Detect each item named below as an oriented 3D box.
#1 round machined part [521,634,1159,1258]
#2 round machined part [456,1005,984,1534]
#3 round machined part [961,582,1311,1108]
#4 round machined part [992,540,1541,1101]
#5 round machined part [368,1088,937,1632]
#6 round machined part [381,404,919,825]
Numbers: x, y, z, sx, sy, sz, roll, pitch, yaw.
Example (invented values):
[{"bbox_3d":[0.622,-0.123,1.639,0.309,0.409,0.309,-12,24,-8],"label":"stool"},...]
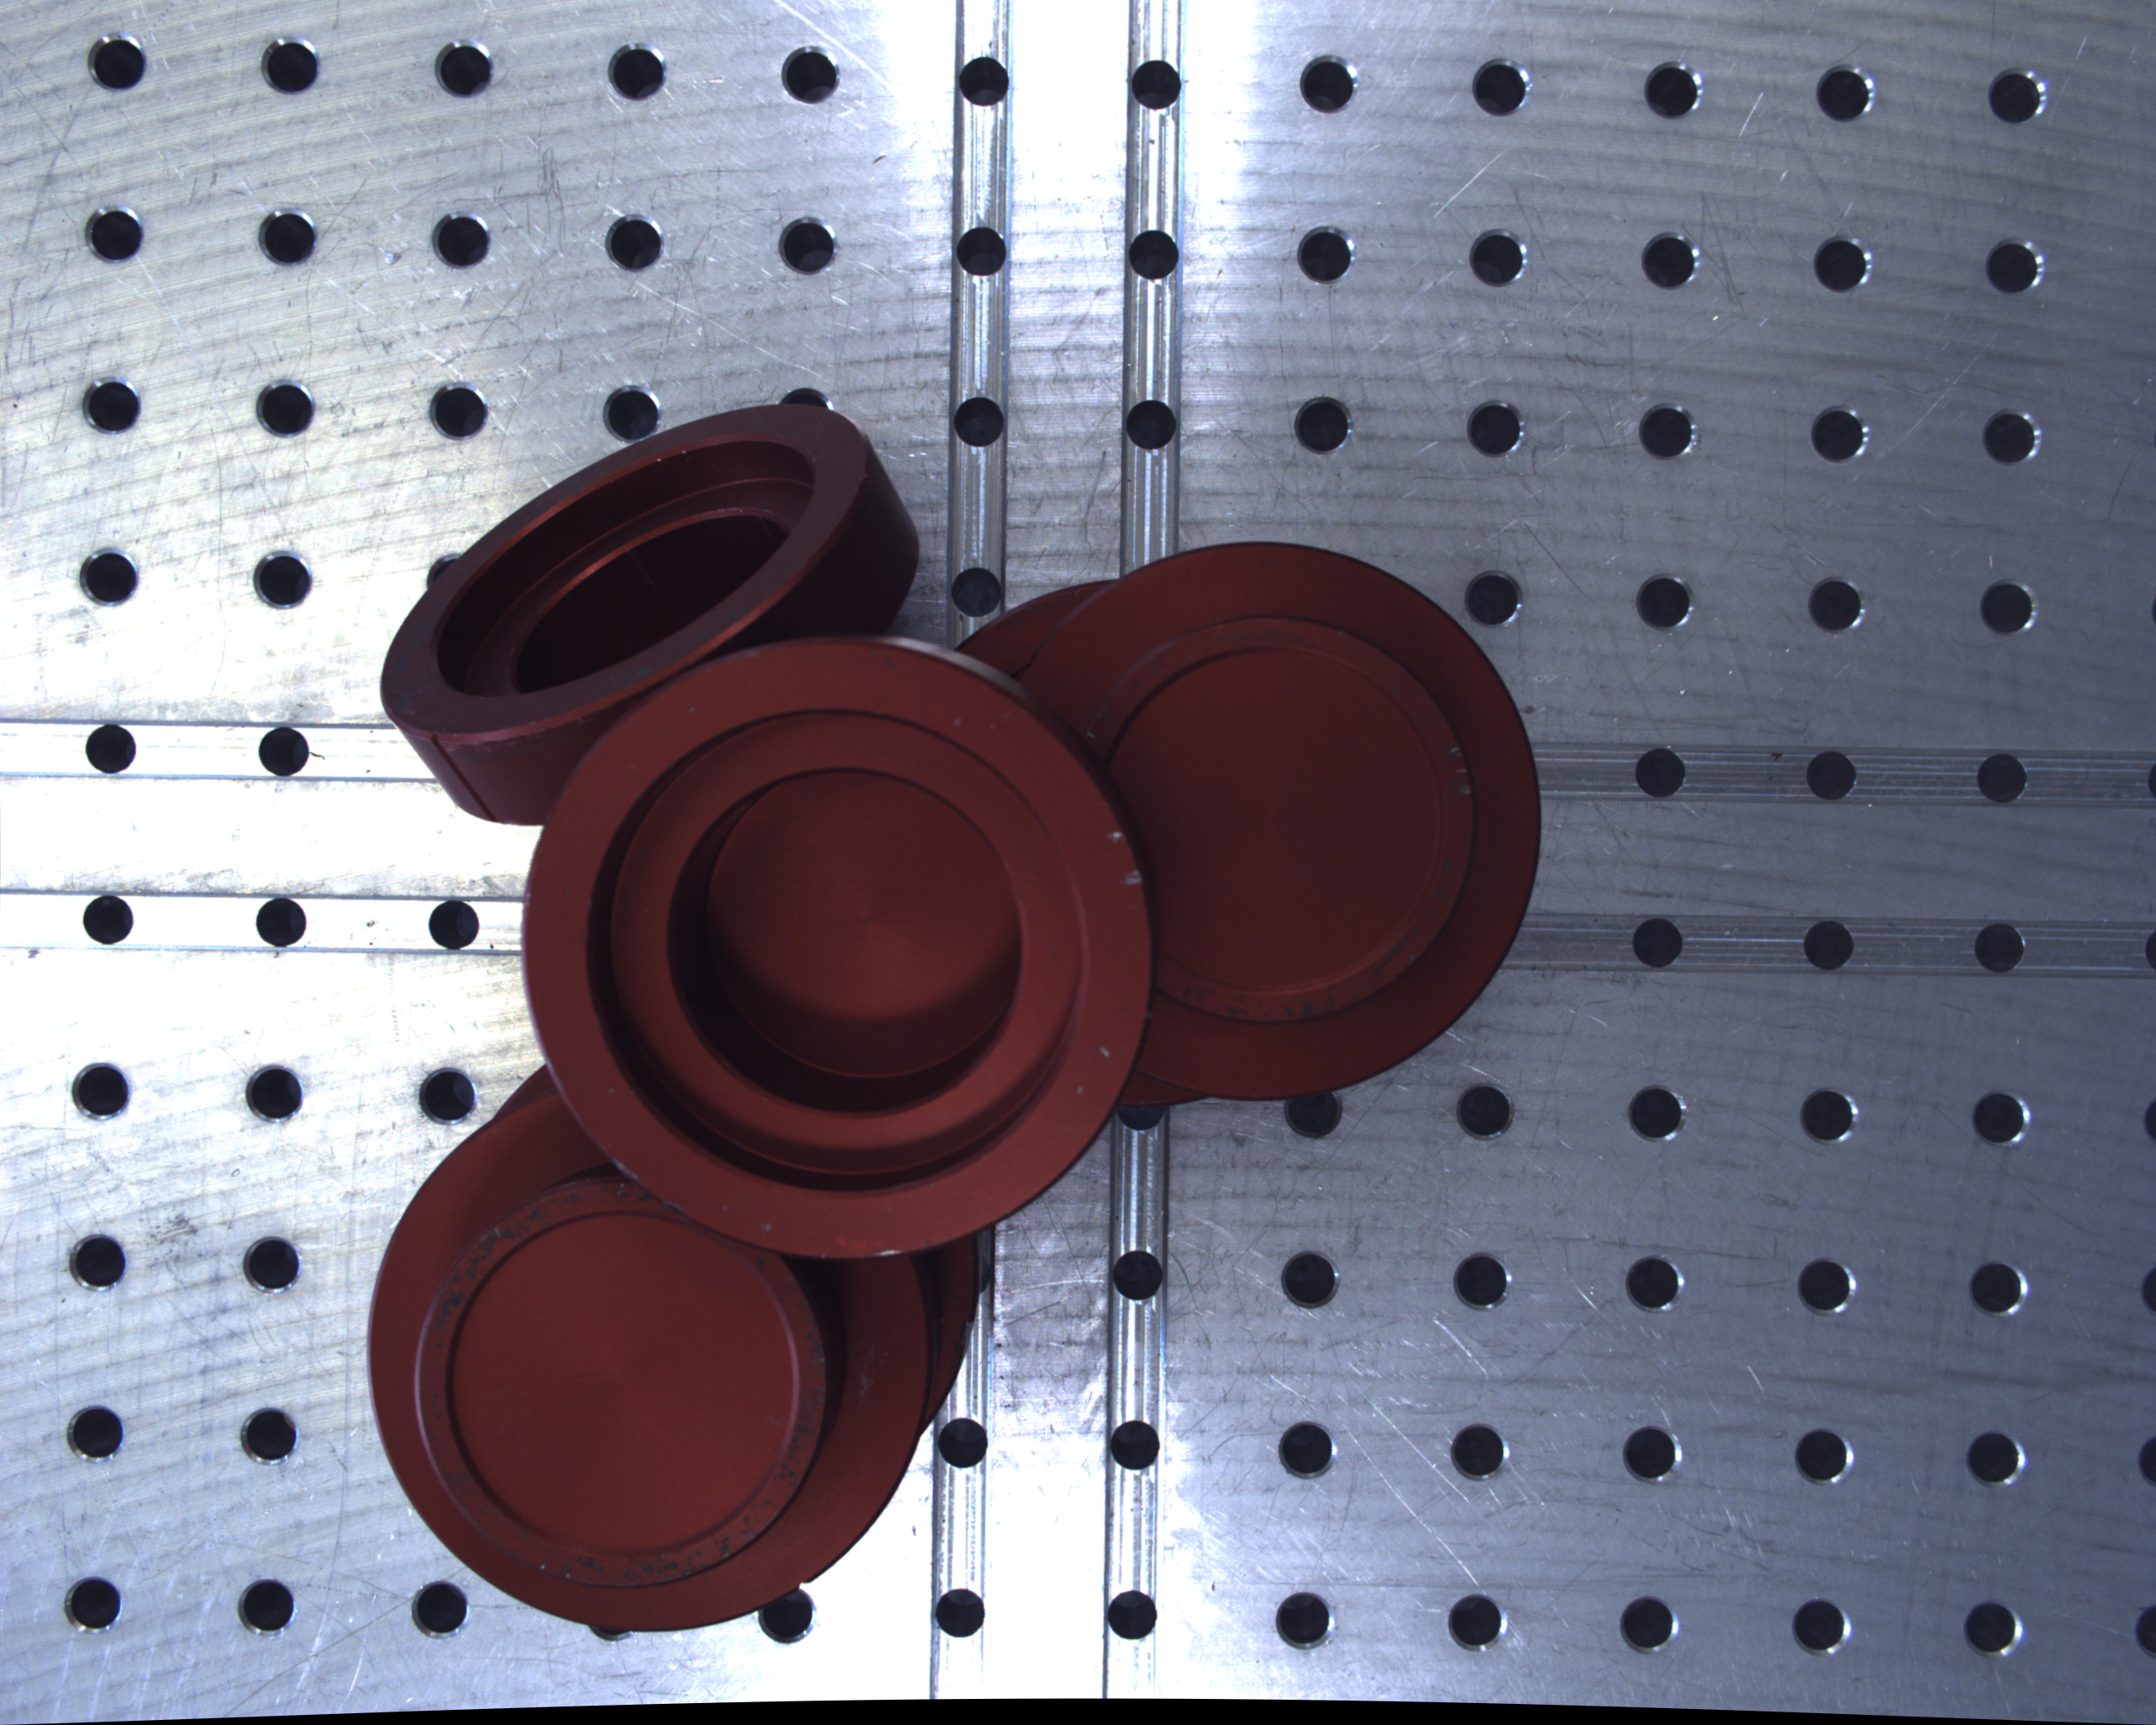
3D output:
[{"bbox_3d":[-0.036,0.011,0.341,0.098,0.042,0.097,0,98,3],"label":"round machined part"},{"bbox_3d":[-0.067,0.075,0.384,0.099,0.042,0.097,0,90,0],"label":"round machined part"},{"bbox_3d":[0.010,-0.003,0.384,0.099,0.042,0.097,0,90,0],"label":"round machined part"},{"bbox_3d":[0.032,-0.007,0.362,0.099,0.042,0.097,0,89,0],"label":"round machined part"},{"bbox_3d":[-0.074,0.085,0.362,0.099,0.042,0.097,0,90,0],"label":"round machined part"},{"bbox_3d":[-0.074,-0.040,0.385,0.098,0.098,0.042,-27,125,0],"label":"round machined part"}]
